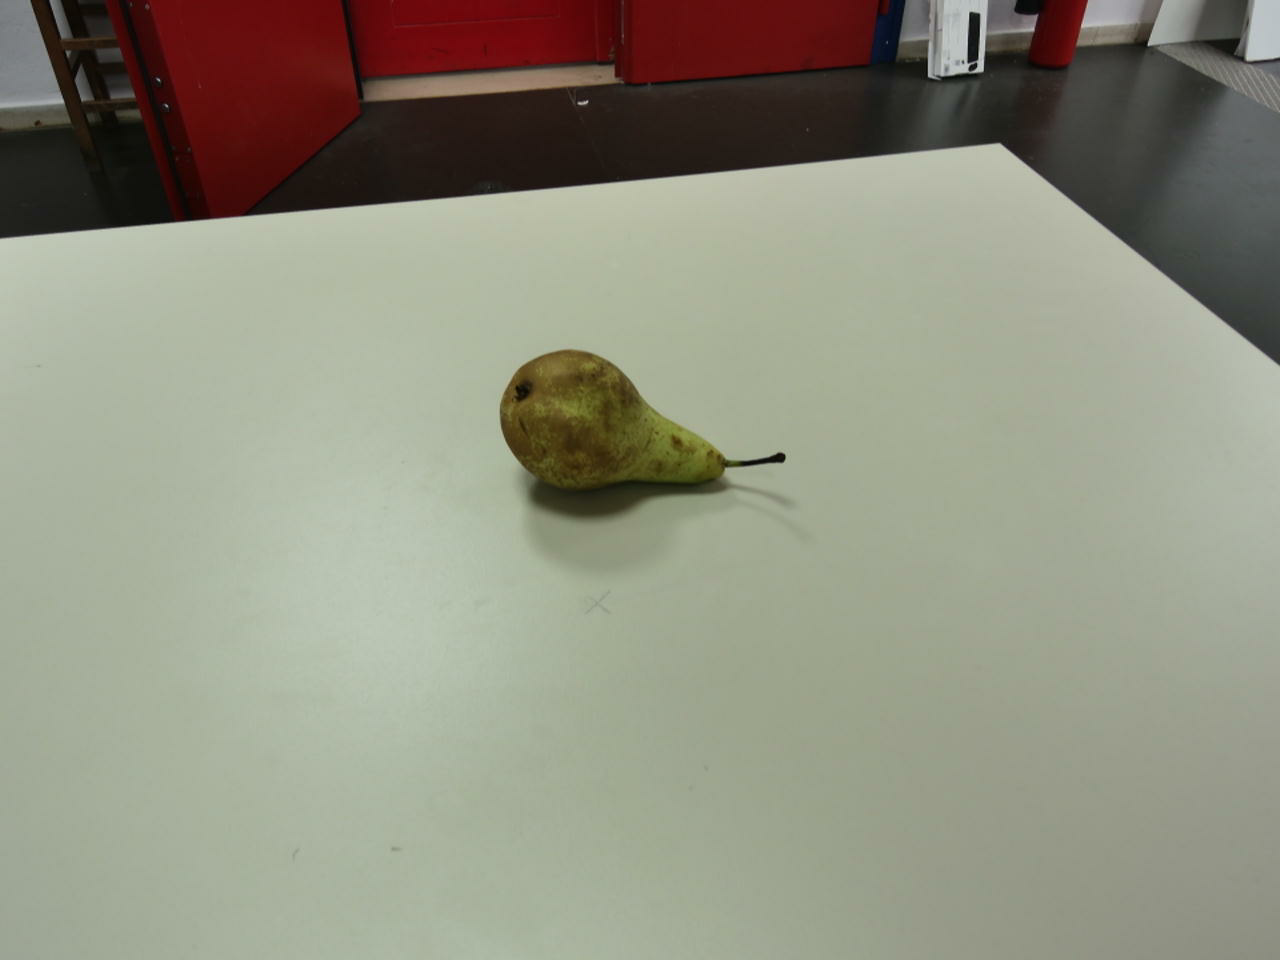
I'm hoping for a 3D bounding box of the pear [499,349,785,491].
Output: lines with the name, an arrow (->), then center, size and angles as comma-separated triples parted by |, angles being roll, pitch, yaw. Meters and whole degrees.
pear -> 0.000, -0.033, 0.521 | 0.144, 0.075, 0.071 | -4, 39, -4
